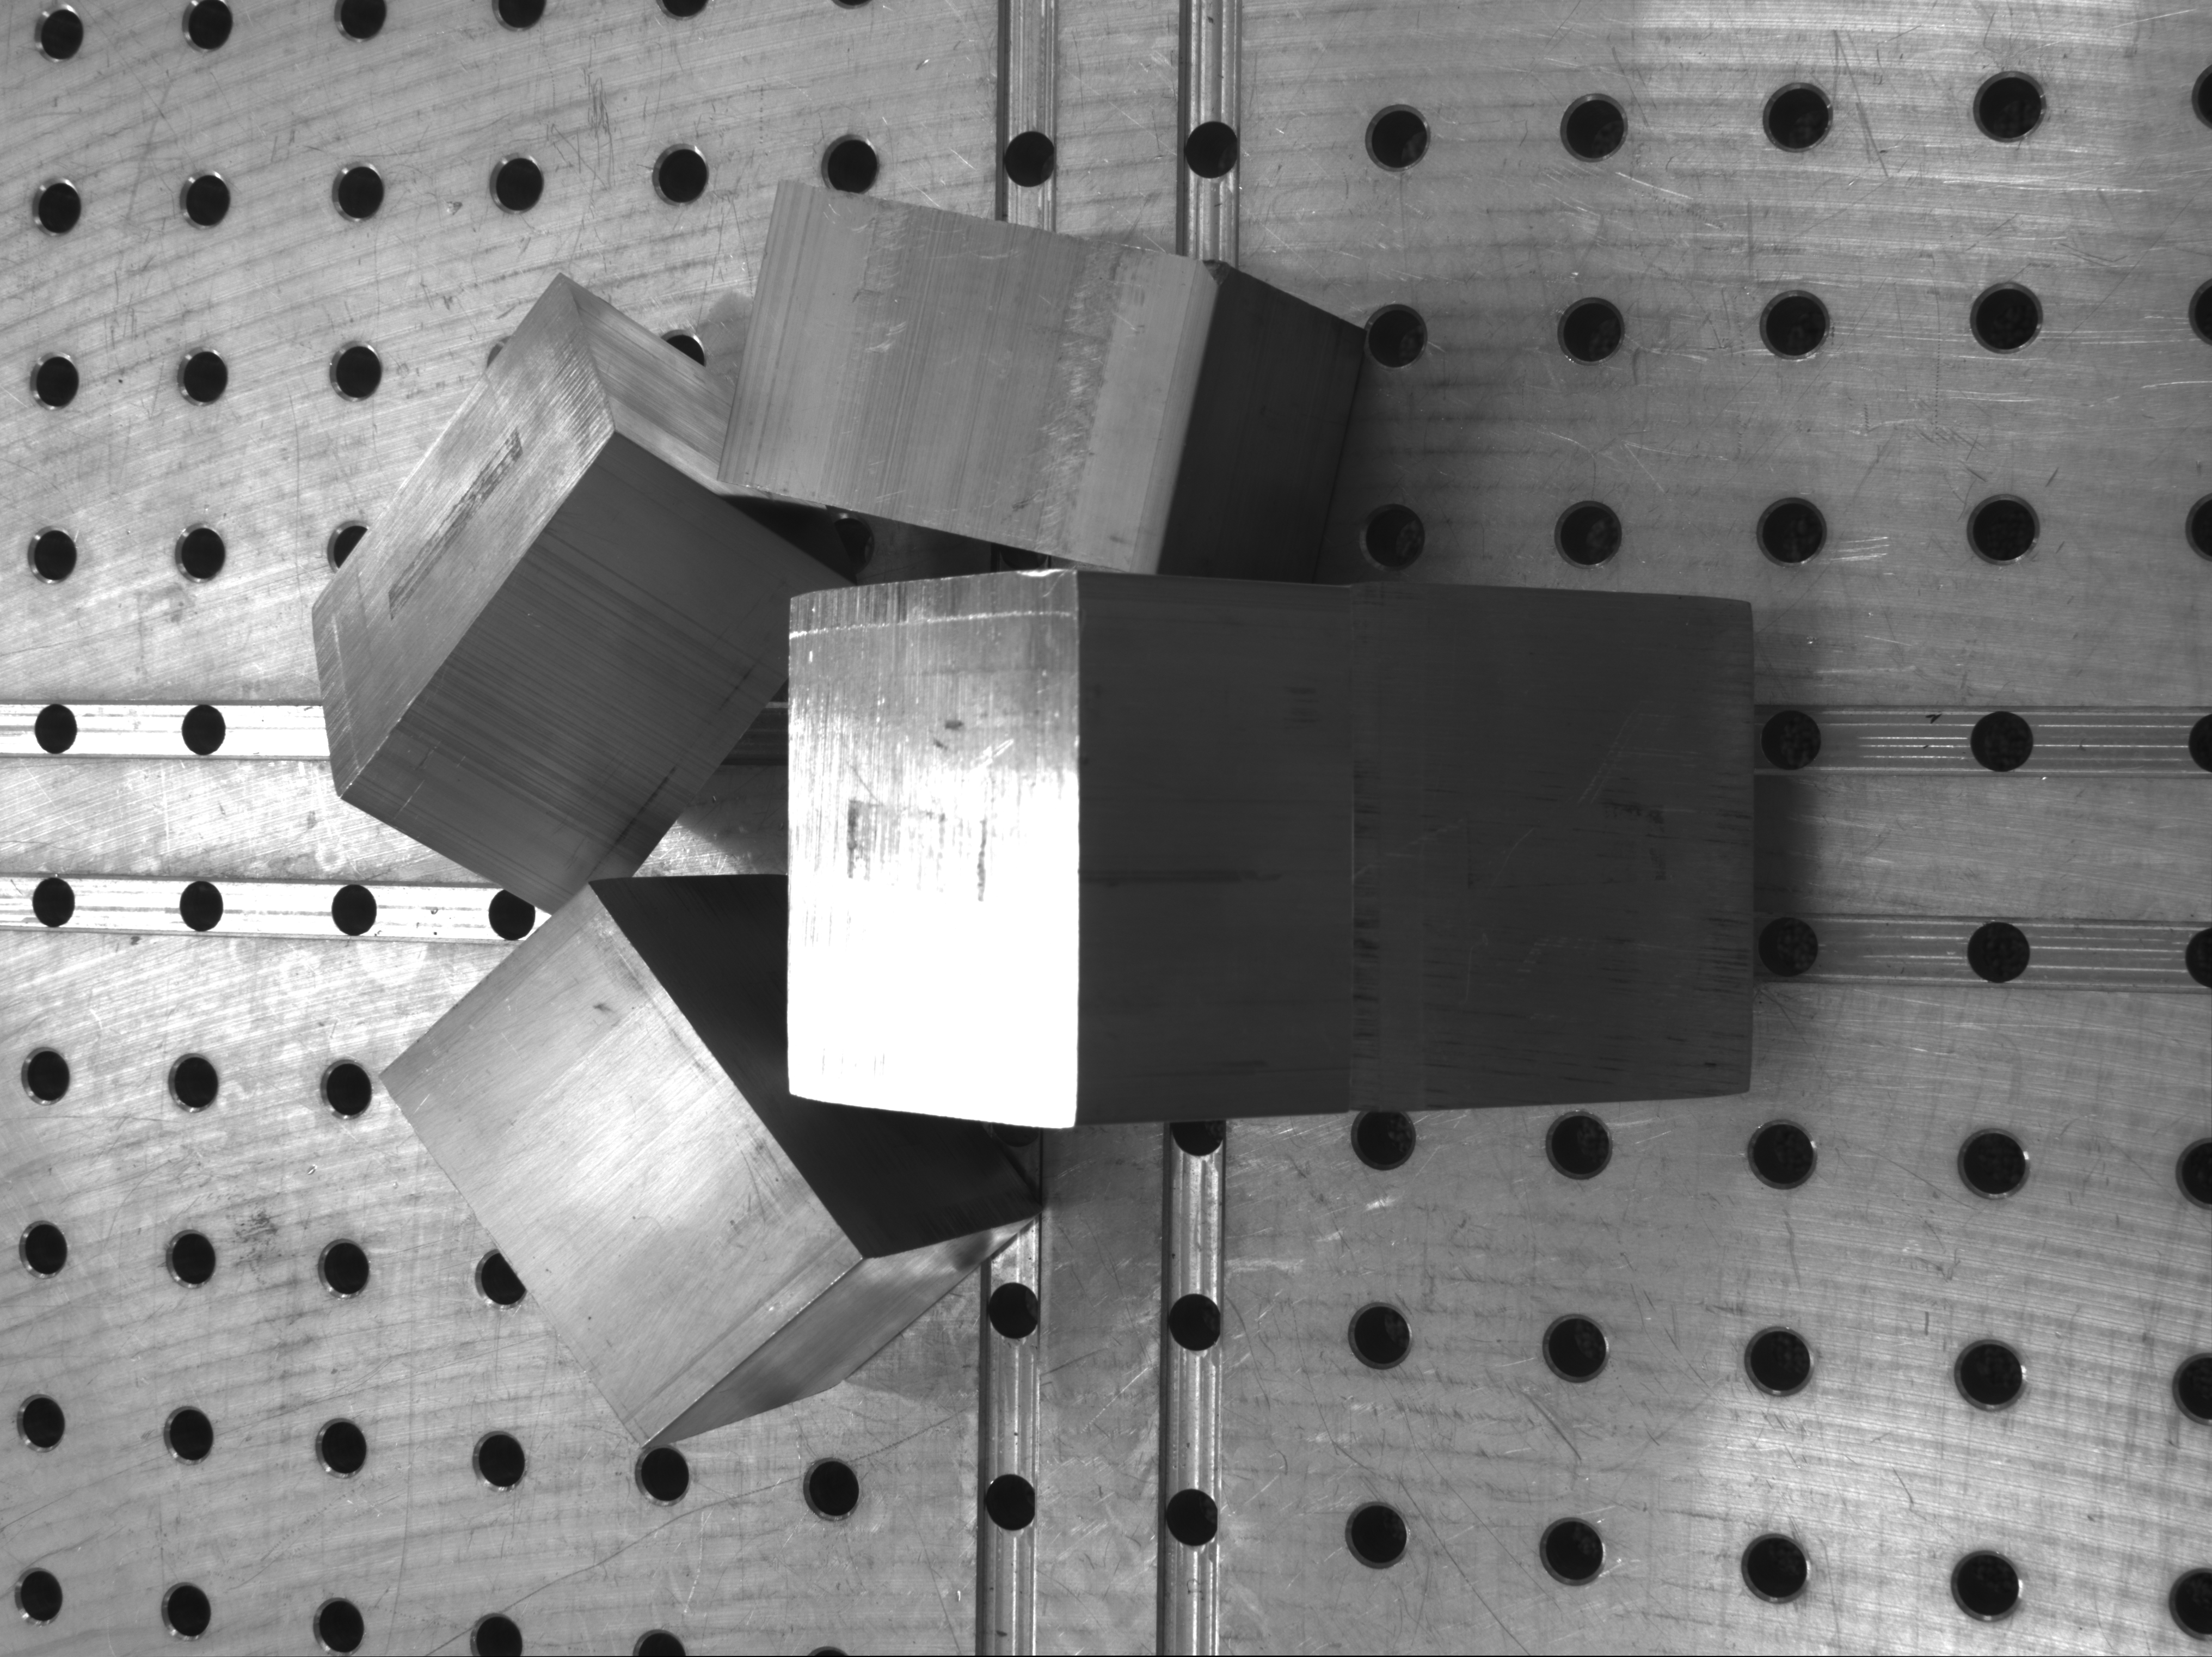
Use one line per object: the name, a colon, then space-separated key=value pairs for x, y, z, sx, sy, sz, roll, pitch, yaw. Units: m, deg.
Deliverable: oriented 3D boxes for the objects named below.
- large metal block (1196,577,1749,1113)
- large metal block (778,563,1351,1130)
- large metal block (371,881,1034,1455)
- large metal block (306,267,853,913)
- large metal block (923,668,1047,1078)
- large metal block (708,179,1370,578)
large metal block: x=0.056 y=0.003 z=0.591 sx=0.050 sy=0.080 sz=0.080 roll=-1 pitch=89 yaw=58
large metal block: x=-0.008 y=0.003 z=0.565 sx=0.080 sy=0.050 sz=0.080 roll=0 pitch=89 yaw=54
large metal block: x=-0.069 y=0.056 z=0.644 sx=0.050 sy=0.080 sz=0.080 roll=-41 pitch=77 yaw=15
large metal block: x=-0.095 y=-0.041 z=0.648 sx=0.050 sy=0.080 sz=0.080 roll=32 pitch=105 yaw=-28
large metal block: x=-0.006 y=0.002 z=0.638 sx=0.080 sy=0.050 sz=0.080 roll=1 pitch=90 yaw=20
large metal block: x=-0.009 y=-0.072 z=0.624 sx=0.080 sy=0.080 sz=0.050 roll=14 pitch=95 yaw=20
